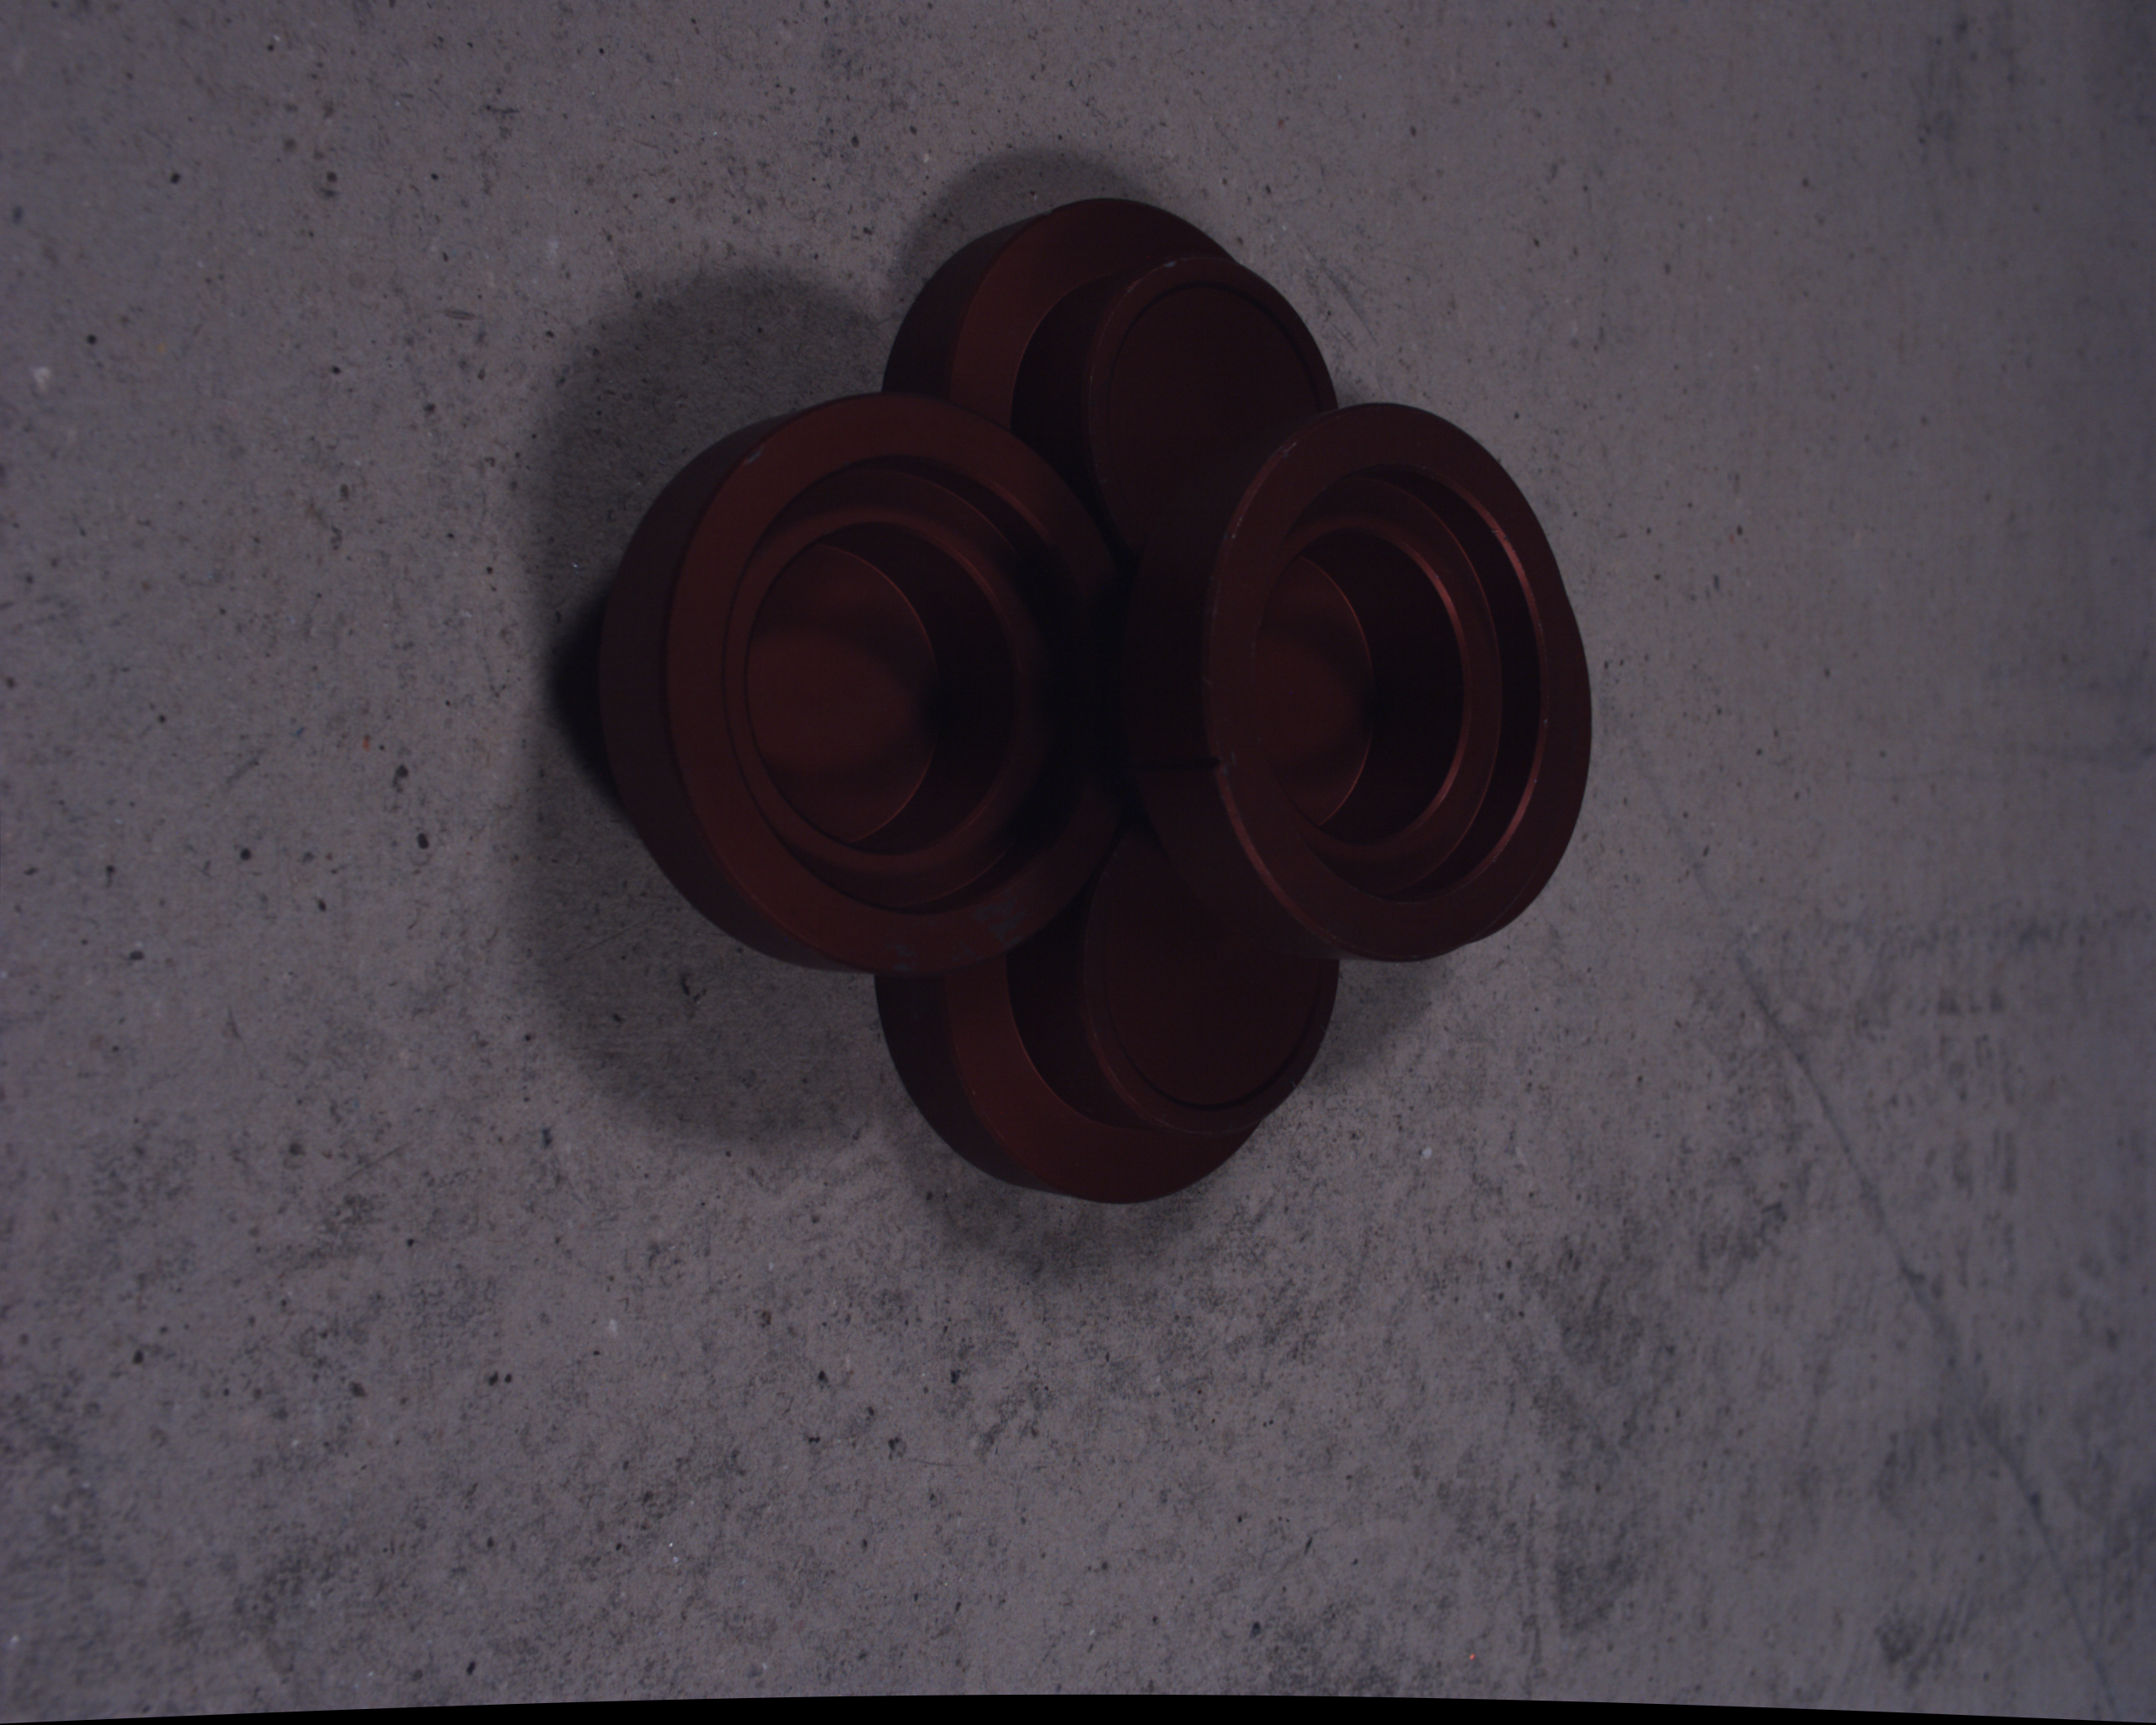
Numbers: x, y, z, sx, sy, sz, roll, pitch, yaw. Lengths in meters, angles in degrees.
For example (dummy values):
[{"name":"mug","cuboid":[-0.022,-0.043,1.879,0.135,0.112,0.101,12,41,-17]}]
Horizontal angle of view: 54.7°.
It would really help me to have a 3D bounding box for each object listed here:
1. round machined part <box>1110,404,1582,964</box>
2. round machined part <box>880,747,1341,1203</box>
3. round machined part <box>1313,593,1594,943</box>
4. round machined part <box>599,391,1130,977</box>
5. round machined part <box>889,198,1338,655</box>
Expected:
[{"name":"round machined part","cuboid":[0.045,-0.031,0.380,0.099,0.042,0.097,-1,91,-40]},{"name":"round machined part","cuboid":[0.013,0.018,0.408,0.099,0.042,0.097,0,90,-40]},{"name":"round machined part","cuboid":[0.065,-0.031,0.452,0.099,0.042,0.097,0,90,-40]},{"name":"round machined part","cuboid":[-0.039,-0.030,0.364,0.099,0.042,0.097,0,90,-40]},{"name":"round machined part","cuboid":[0.014,-0.081,0.409,0.099,0.042,0.097,0,90,-40]}]
